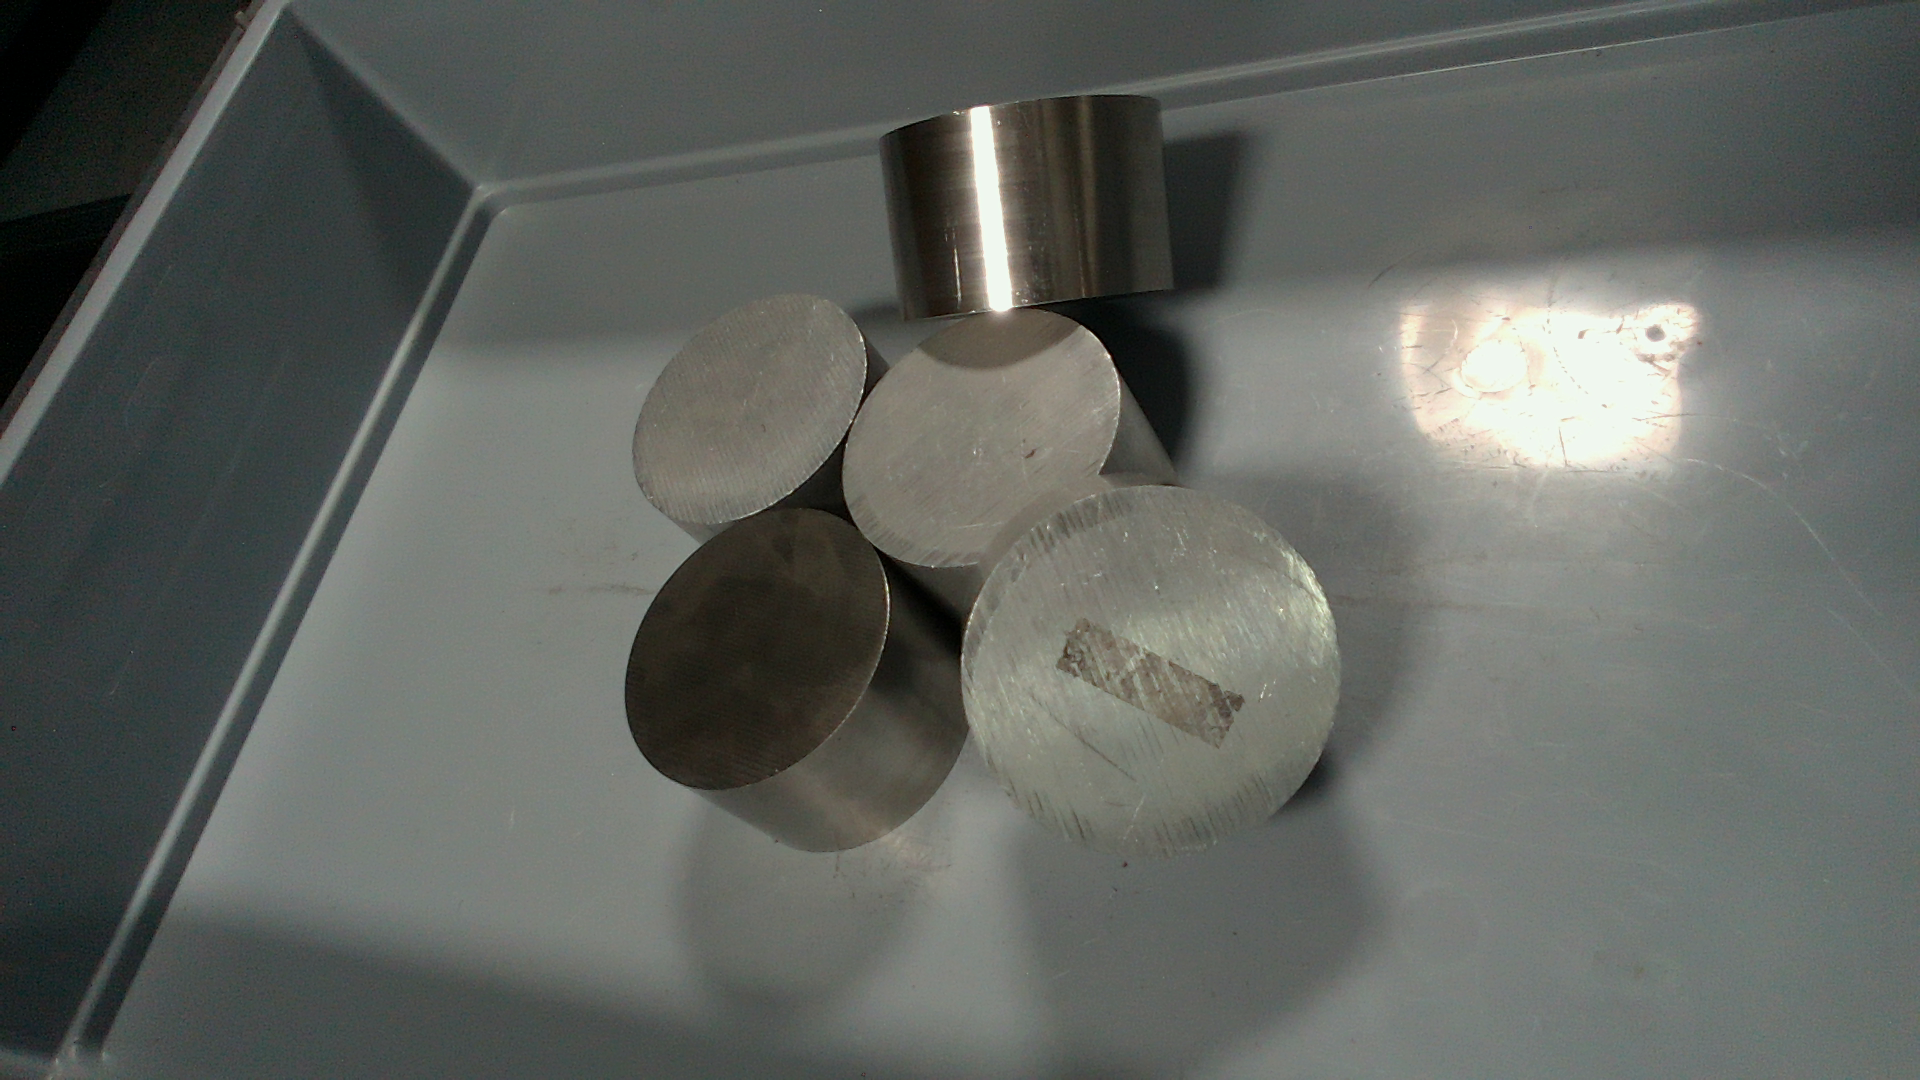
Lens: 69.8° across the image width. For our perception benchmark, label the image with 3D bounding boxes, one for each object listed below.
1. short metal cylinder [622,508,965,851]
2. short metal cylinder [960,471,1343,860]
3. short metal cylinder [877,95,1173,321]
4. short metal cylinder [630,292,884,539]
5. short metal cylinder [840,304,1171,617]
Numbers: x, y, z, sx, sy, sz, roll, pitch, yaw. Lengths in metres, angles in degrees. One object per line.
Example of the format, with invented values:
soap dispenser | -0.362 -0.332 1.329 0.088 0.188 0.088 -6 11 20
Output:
short metal cylinder | -0.044 0.038 0.376 0.080 0.050 0.080 -14 56 21
short metal cylinder | 0.040 0.025 0.312 0.080 0.050 0.080 0 96 -1
short metal cylinder | 0.019 -0.093 0.394 0.080 0.080 0.050 -3 99 27
short metal cylinder | -0.053 -0.028 0.422 0.080 0.050 0.080 -14 56 21
short metal cylinder | 0.014 -0.017 0.378 0.080 0.050 0.080 -14 56 21
